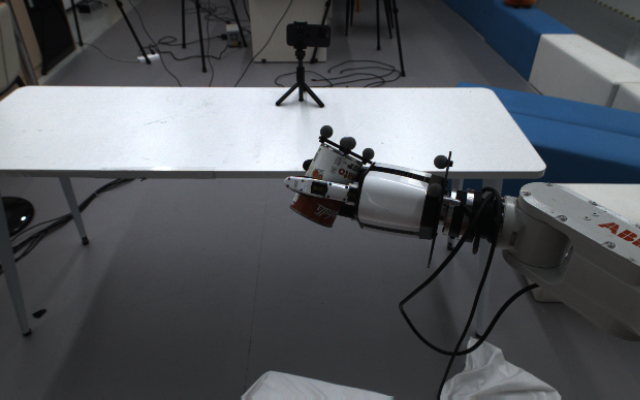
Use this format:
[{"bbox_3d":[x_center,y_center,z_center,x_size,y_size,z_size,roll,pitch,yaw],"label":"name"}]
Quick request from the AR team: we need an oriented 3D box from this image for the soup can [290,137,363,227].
[{"bbox_3d":[0.010,-0.021,0.679,0.067,0.101,0.067,26,6,-3],"label":"soup can"}]
